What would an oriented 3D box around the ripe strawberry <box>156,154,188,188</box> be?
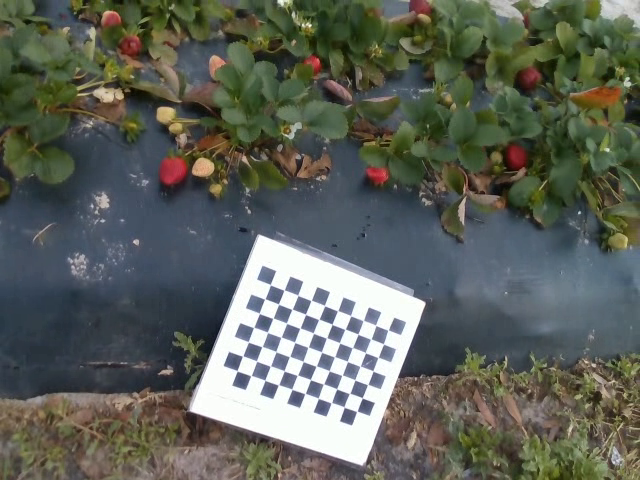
[{"bbox_3d":[-0.216,-0.098,0.824,0.050,0.034,0.059,10,43,-13],"label":"ripe strawberry"}]
